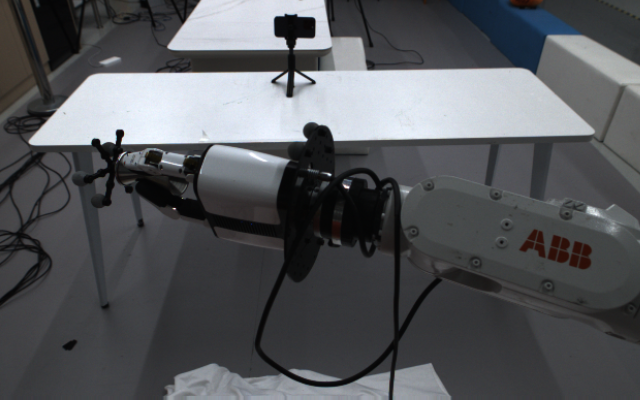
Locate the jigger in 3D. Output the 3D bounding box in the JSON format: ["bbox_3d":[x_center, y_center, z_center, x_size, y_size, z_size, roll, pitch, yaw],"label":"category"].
[{"bbox_3d":[-0.178,-0.035,0.535,0.071,0.043,0.043,7,35,14],"label":"jigger"}]
